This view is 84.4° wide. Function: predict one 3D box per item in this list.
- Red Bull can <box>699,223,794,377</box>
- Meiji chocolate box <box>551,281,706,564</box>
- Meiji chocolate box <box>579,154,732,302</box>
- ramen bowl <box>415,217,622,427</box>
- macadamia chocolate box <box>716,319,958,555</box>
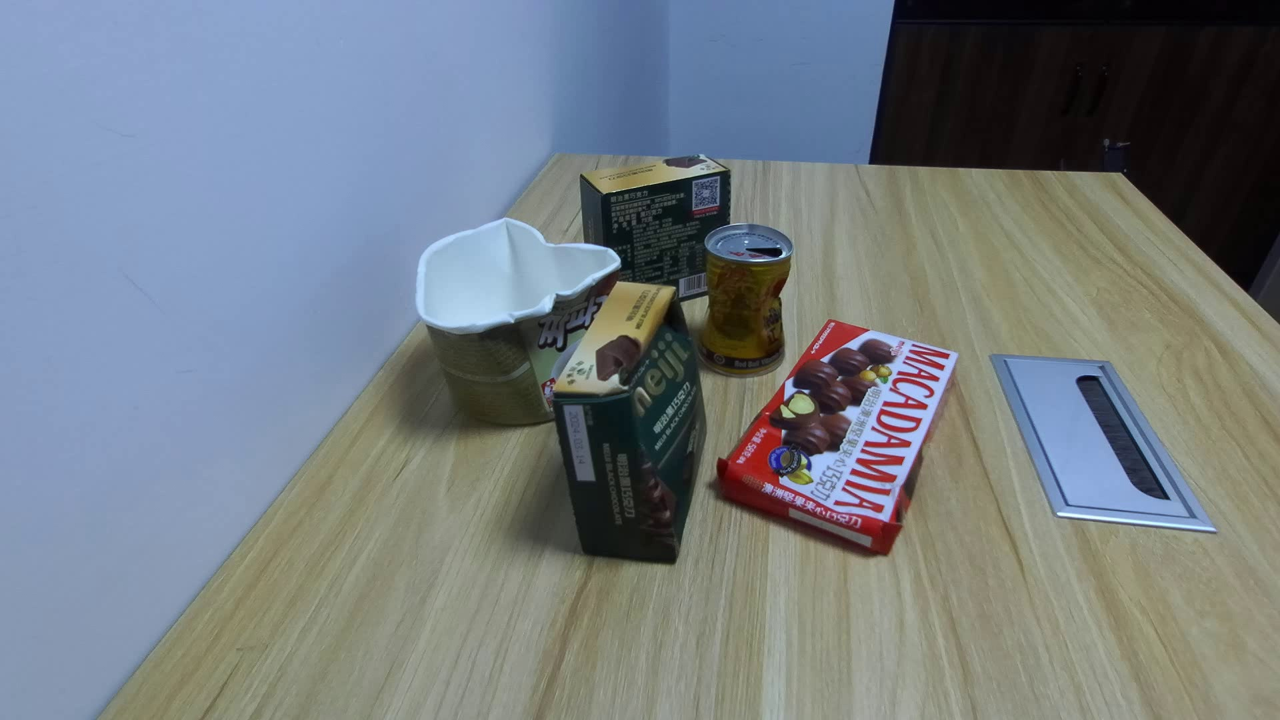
[{"bbox_3d":[0.074,-0.042,0.499,0.072,0.092,0.072,0,35,1],"label":"Red Bull can"},{"bbox_3d":[-0.001,0.029,0.388,0.051,0.117,0.117,-1,33,16],"label":"Meiji chocolate box"},{"bbox_3d":[0.014,-0.103,0.577,0.113,0.111,0.058,-16,36,-18],"label":"Meiji chocolate box"},{"bbox_3d":[-0.087,-0.023,0.477,0.113,0.098,0.134,21,42,27],"label":"ramen bowl"},{"bbox_3d":[0.131,0.037,0.444,0.105,0.028,0.183,19,41,24],"label":"macadamia chocolate box"}]
